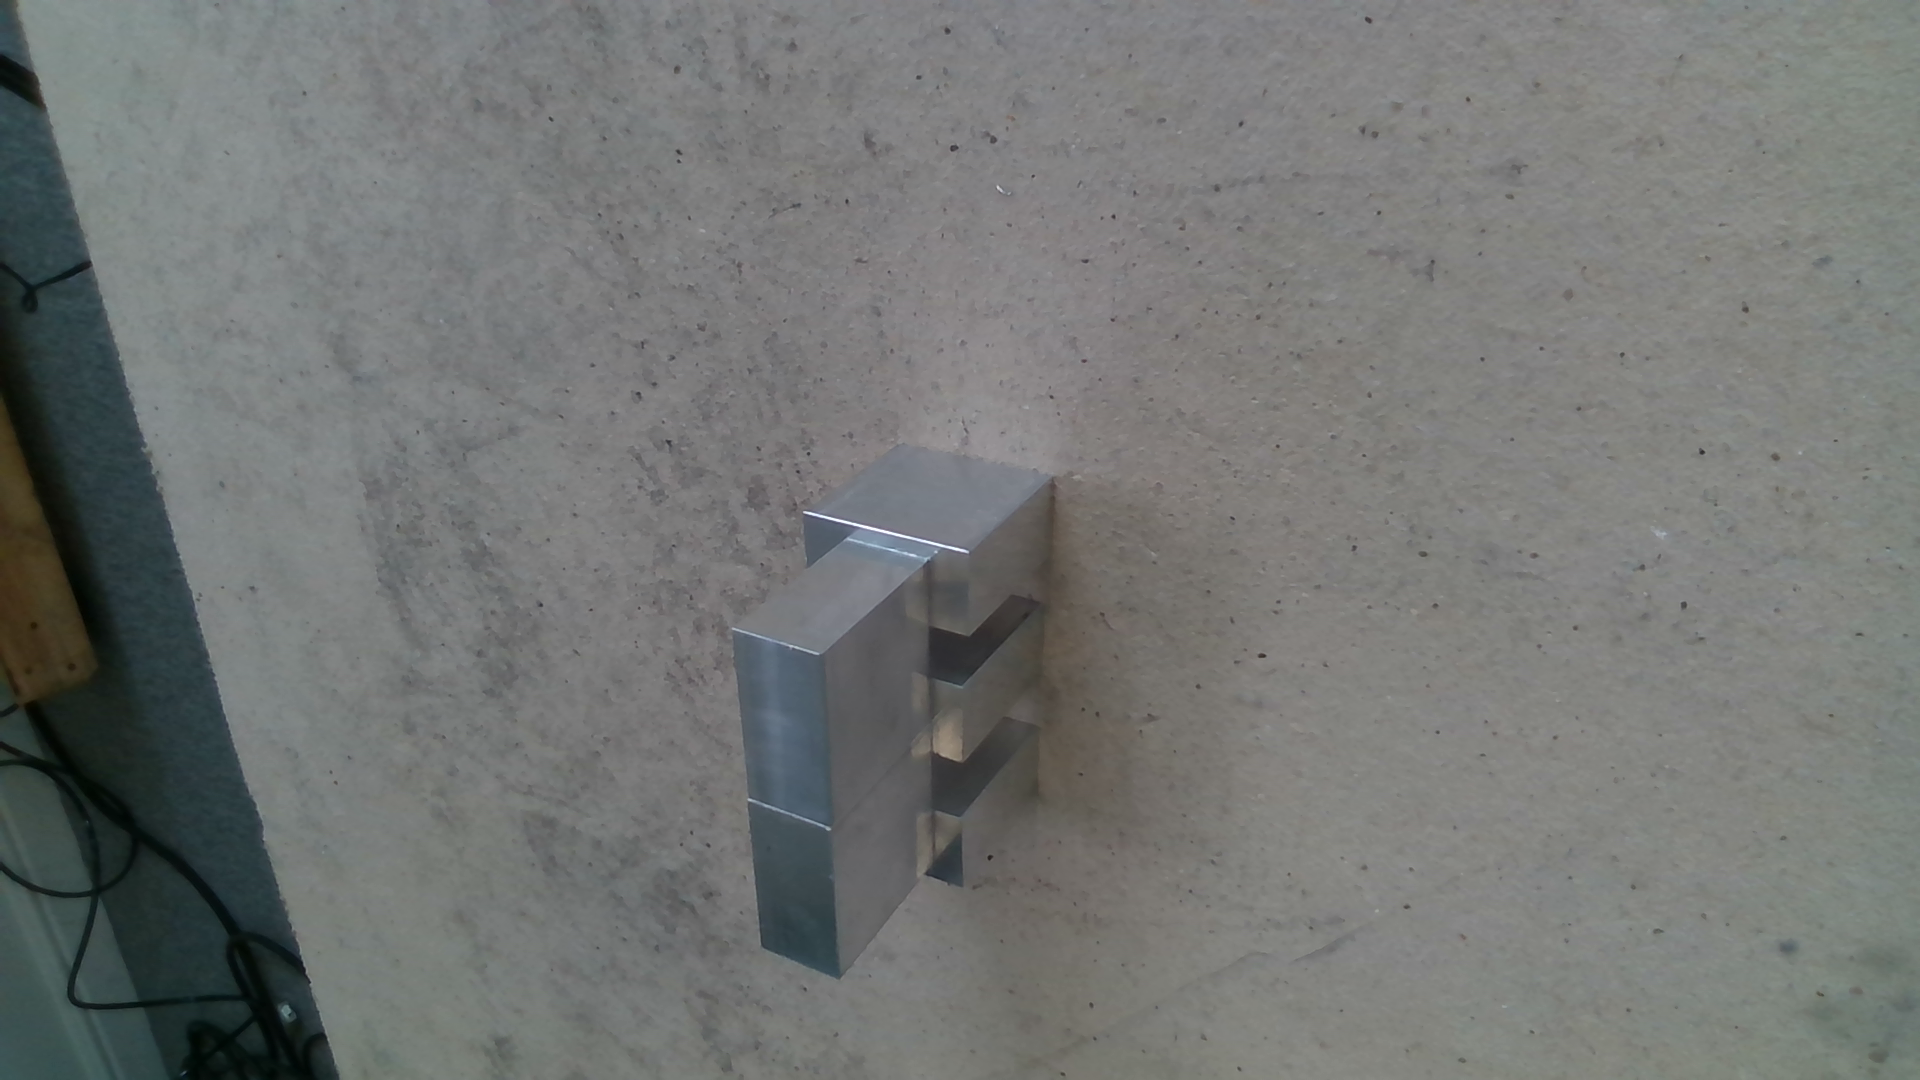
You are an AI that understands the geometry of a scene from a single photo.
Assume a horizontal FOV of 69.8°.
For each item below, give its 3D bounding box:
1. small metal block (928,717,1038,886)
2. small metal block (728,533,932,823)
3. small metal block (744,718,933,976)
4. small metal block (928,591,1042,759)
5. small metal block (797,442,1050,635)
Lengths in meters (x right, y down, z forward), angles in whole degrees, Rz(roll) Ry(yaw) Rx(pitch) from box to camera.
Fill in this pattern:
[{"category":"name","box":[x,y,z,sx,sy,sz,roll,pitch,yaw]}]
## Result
[{"category":"small metal block","box":[-0.010,0.073,0.419,0.050,0.050,0.025,13,120,25]},{"category":"small metal block","box":[-0.031,0.034,0.346,0.025,0.050,0.050,14,122,25]},{"category":"small metal block","box":[-0.031,0.078,0.370,0.025,0.050,0.050,14,122,25]},{"category":"small metal block","box":[-0.010,0.033,0.398,0.050,0.050,0.025,13,120,25]},{"category":"small metal block","box":[-0.009,-0.002,0.376,0.050,0.050,0.025,13,121,25]}]
